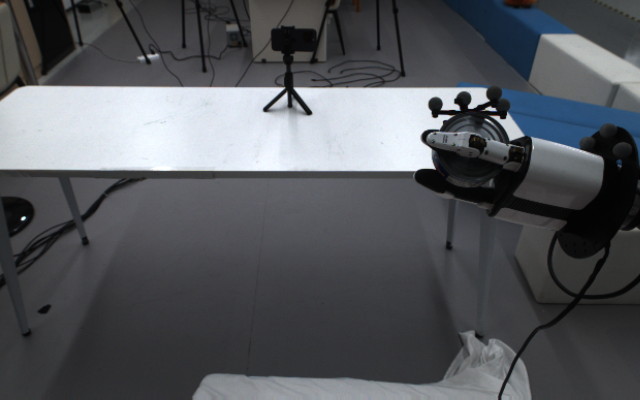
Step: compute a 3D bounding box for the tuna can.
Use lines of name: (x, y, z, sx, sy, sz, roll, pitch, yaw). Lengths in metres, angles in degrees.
tuna can: (0.178, -0.062, 0.574, 0.085, 0.034, 0.085, -1, 74, 4)
